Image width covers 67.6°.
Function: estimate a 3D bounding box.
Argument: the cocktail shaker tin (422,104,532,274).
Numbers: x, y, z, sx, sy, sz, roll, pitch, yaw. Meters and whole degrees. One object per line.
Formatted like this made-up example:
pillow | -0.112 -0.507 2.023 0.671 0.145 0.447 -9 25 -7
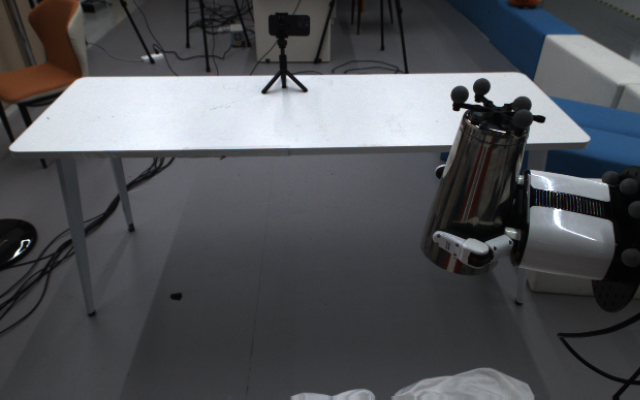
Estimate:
cocktail shaker tin | 0.174 -0.012 0.536 0.093 0.170 0.093 3 34 -2
